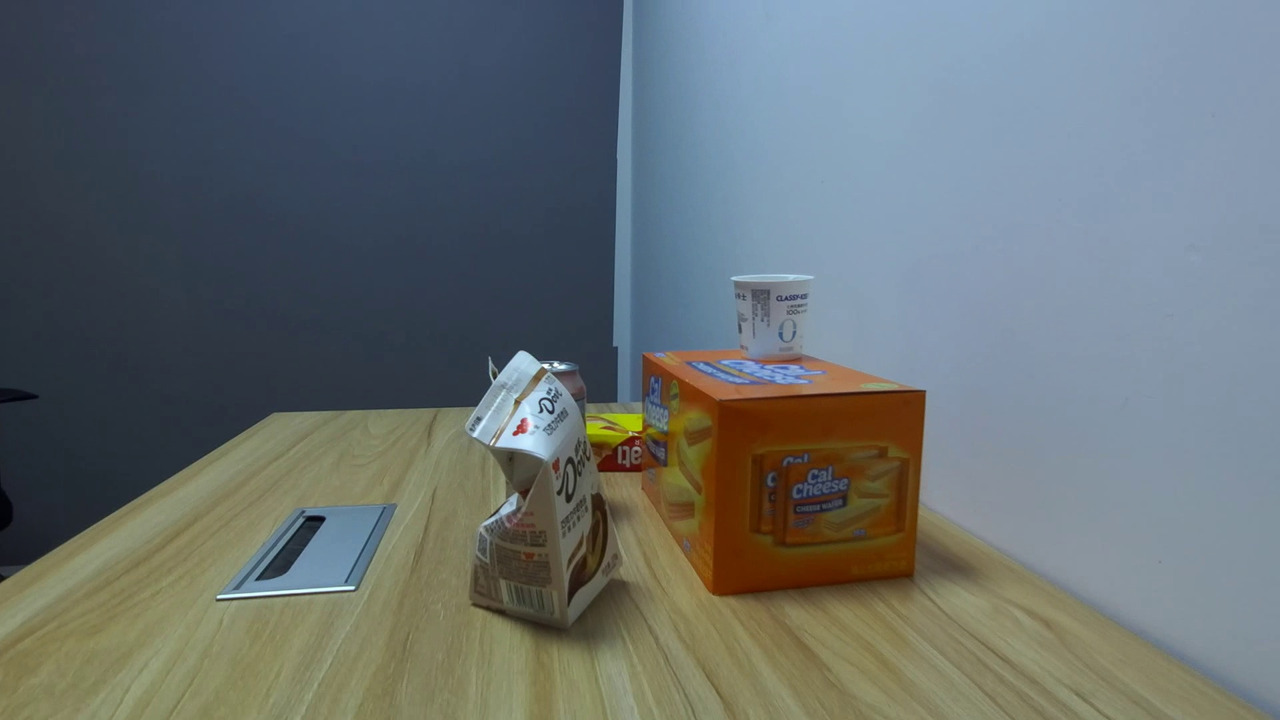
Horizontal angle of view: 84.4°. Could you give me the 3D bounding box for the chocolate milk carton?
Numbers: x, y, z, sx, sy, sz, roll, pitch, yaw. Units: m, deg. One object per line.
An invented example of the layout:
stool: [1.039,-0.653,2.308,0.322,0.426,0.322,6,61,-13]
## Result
chocolate milk carton: [-0.065,0.078,0.429,0.076,0.155,0.089,0,22,23]

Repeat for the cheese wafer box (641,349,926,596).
cheese wafer box: [0.097,0.070,0.554,0.148,0.129,0.221,-2,8,-11]

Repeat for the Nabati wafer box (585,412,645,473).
Nabati wafer box: [-0.035,0.085,0.739,0.203,0.042,0.096,-1,6,-2]

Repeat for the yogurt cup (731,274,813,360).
yogurt cup: [0.113,-0.037,0.608,0.072,0.068,0.072,-1,10,0]
